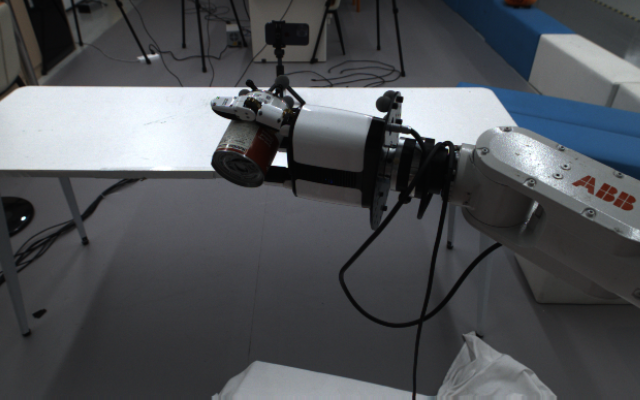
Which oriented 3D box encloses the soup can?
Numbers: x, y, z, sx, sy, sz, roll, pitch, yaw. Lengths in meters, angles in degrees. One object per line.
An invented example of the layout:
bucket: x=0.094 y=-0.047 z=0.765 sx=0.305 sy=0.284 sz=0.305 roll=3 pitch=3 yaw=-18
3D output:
soup can: x=-0.081 y=-0.076 z=0.590 sx=0.067 sy=0.067 sz=0.101 roll=12 pitch=59 yaw=14
